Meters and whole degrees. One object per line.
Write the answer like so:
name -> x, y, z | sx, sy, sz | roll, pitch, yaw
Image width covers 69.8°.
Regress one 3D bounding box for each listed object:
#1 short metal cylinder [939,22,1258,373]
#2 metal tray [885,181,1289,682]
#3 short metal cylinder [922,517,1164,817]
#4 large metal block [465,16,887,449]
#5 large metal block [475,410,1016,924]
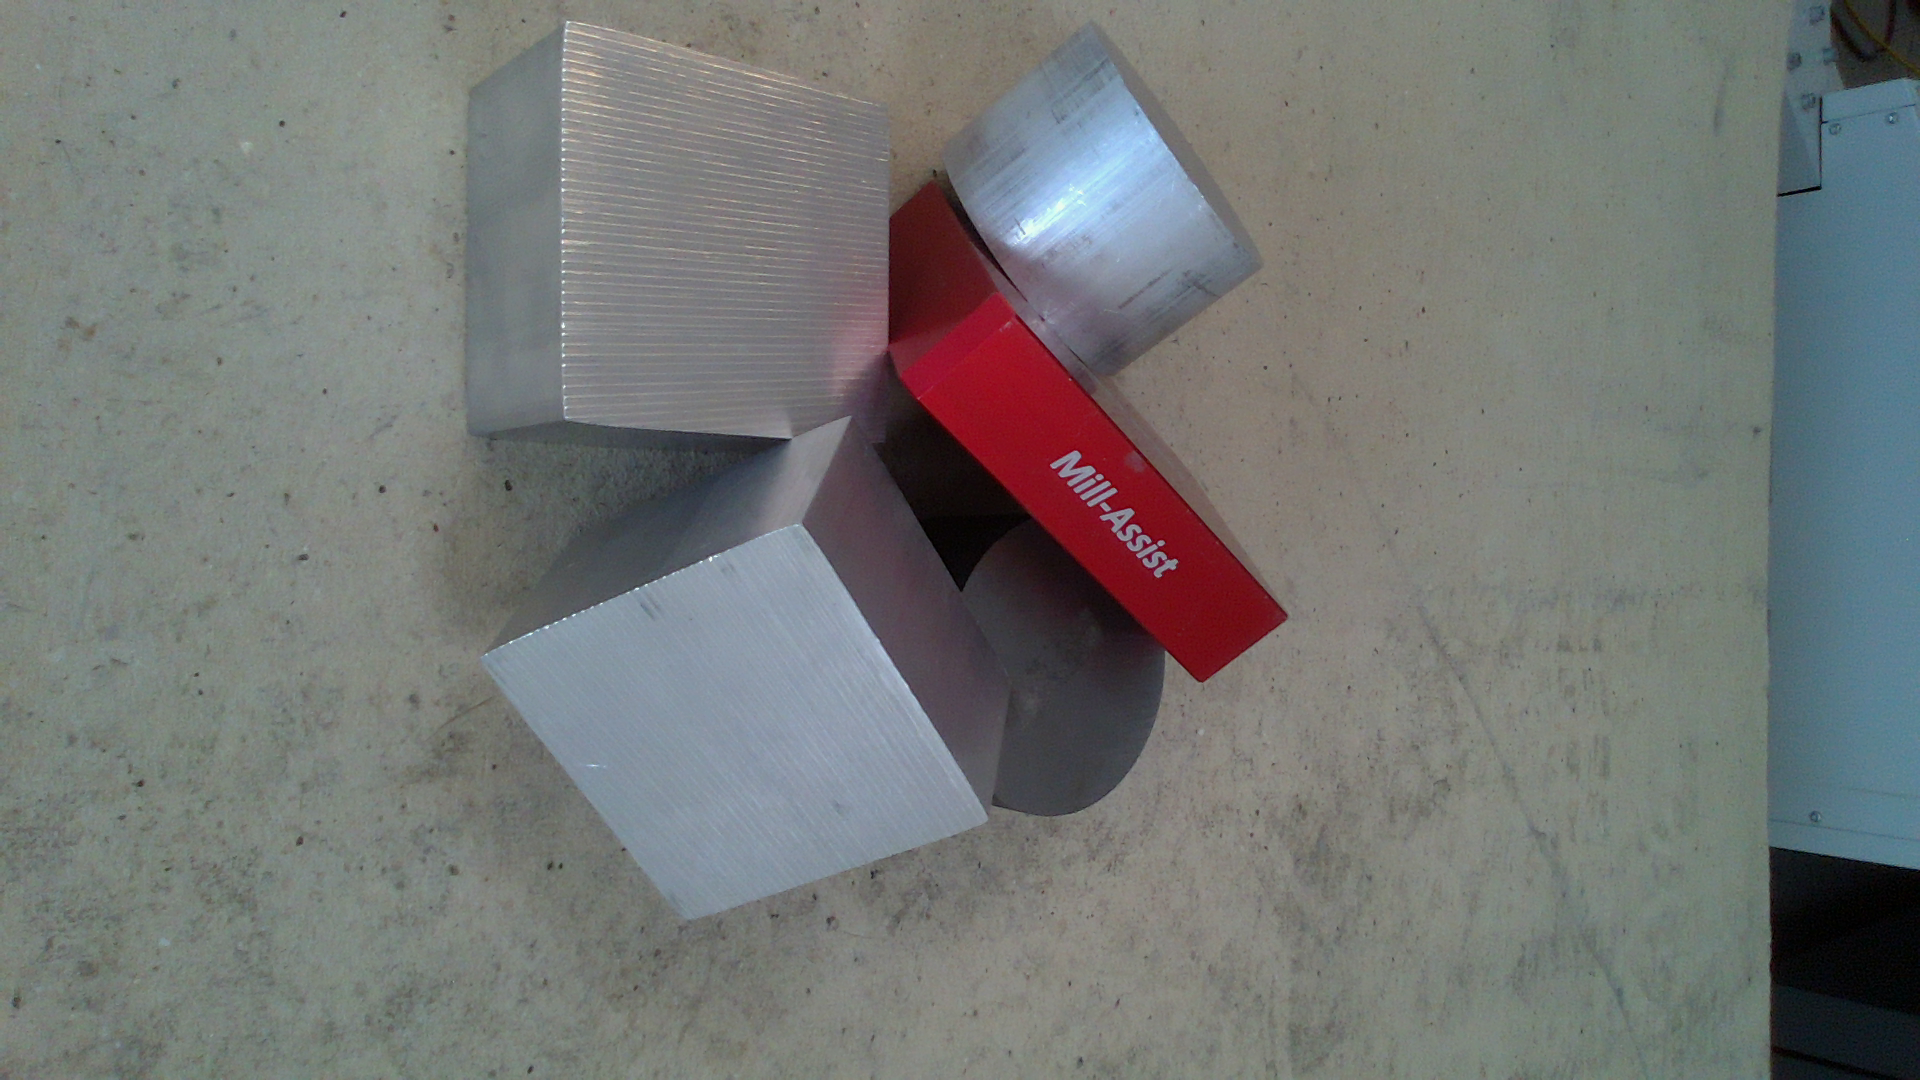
short metal cylinder -> 0.039, -0.093, 0.380 | 0.080, 0.050, 0.080 | 46, 22, -24
metal tray -> 0.030, -0.029, 0.373 | 0.030, 0.090, 0.130 | -40, 122, 12
short metal cylinder -> 0.011, 0.033, 0.383 | 0.080, 0.050, 0.080 | 0, 90, -40
large metal block -> -0.064, -0.063, 0.317 | 0.080, 0.050, 0.080 | 1, 89, -40
large metal block -> -0.043, 0.030, 0.308 | 0.080, 0.080, 0.050 | 60, 21, -23
